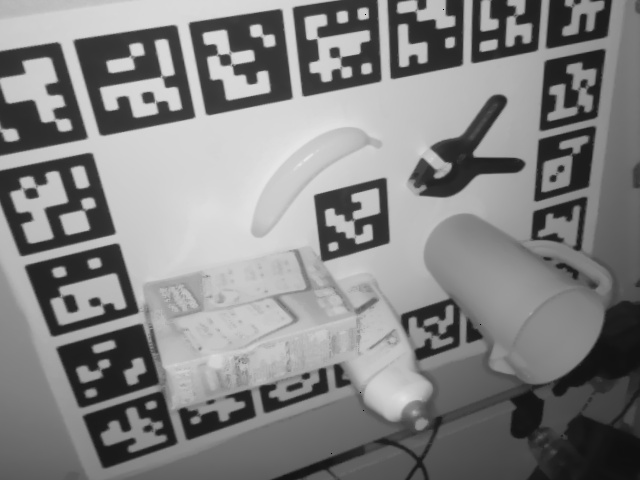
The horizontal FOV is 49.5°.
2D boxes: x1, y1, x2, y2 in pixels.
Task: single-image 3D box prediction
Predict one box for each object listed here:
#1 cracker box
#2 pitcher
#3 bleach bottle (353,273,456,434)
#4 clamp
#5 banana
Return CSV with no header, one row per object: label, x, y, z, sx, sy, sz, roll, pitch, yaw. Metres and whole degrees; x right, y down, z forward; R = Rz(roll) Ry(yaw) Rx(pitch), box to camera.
cracker box,-0.059,0.096,0.797,0.216,0.164,0.071,-13,124,-17
pitcher,0.282,0.068,0.866,0.189,0.242,0.133,-28,125,-2
bleach bottle,0.102,0.137,0.853,0.103,0.250,0.067,-14,123,-14
clamp,0.221,-0.100,0.899,0.166,0.036,0.121,-27,125,-4
banana,0.009,-0.073,0.835,0.197,0.039,0.074,-42,125,4
